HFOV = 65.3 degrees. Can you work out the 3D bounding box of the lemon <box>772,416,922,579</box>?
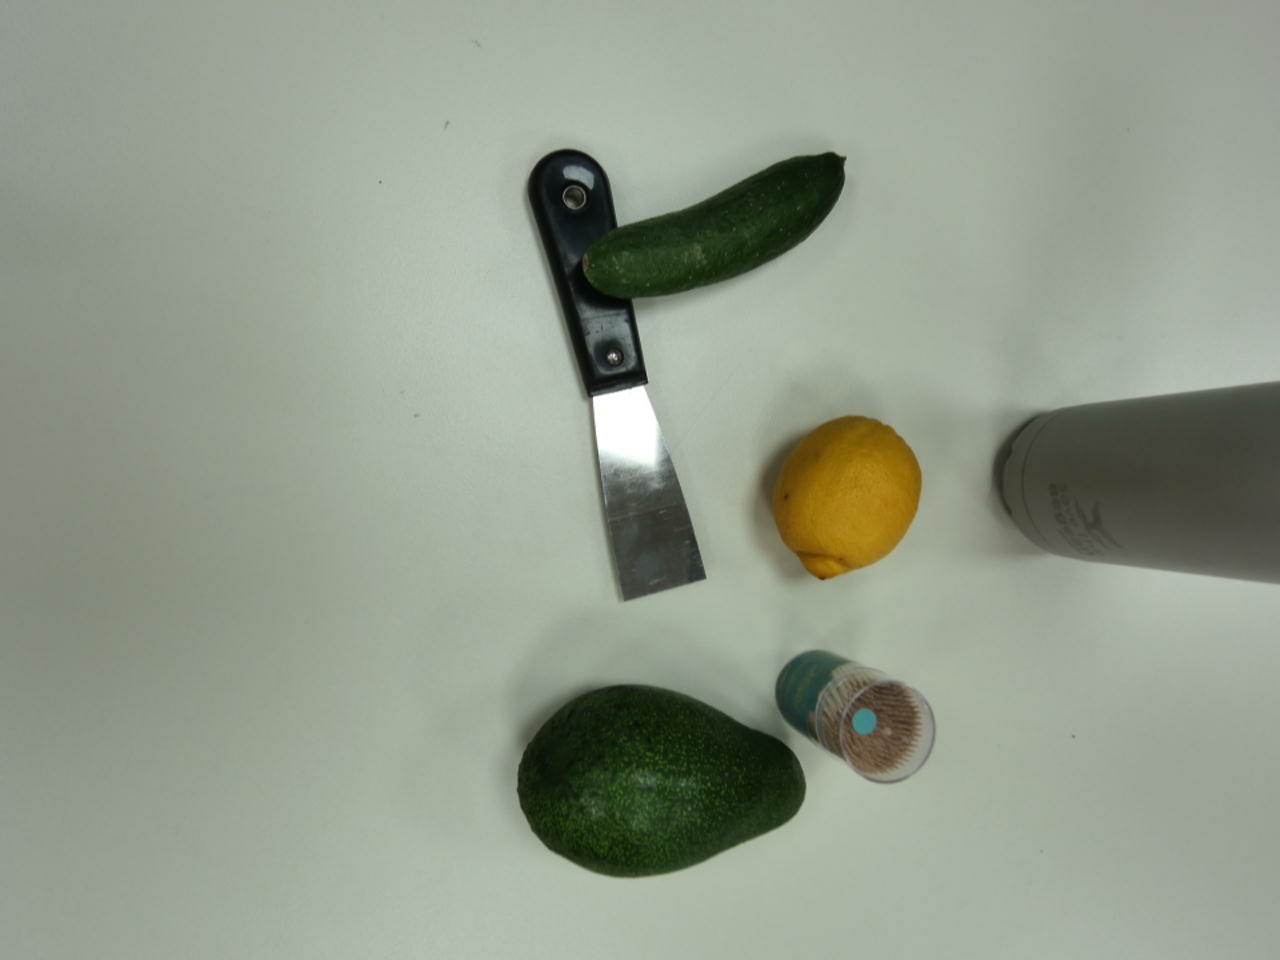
[{"bbox_3d":[0.088,0.006,0.427,0.067,0.059,0.061,-39,97,-9],"label":"lemon"}]
